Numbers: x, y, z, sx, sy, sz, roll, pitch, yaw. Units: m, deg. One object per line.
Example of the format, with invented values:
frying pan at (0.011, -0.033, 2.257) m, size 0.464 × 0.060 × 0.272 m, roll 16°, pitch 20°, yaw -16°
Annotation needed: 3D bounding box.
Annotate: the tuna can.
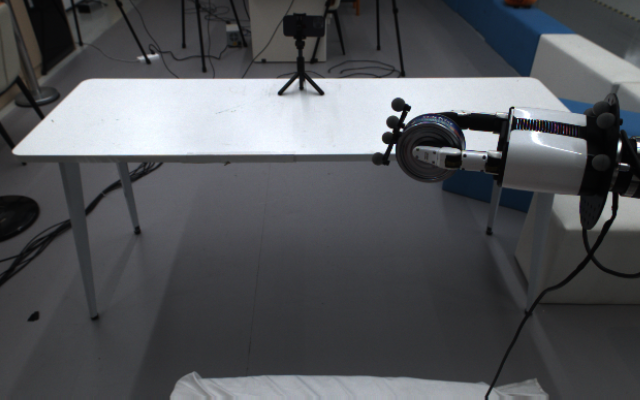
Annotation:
tuna can at (0.144, -0.068, 0.626) m, size 0.085 × 0.085 × 0.034 m, roll 12°, pitch 29°, yaw 14°
